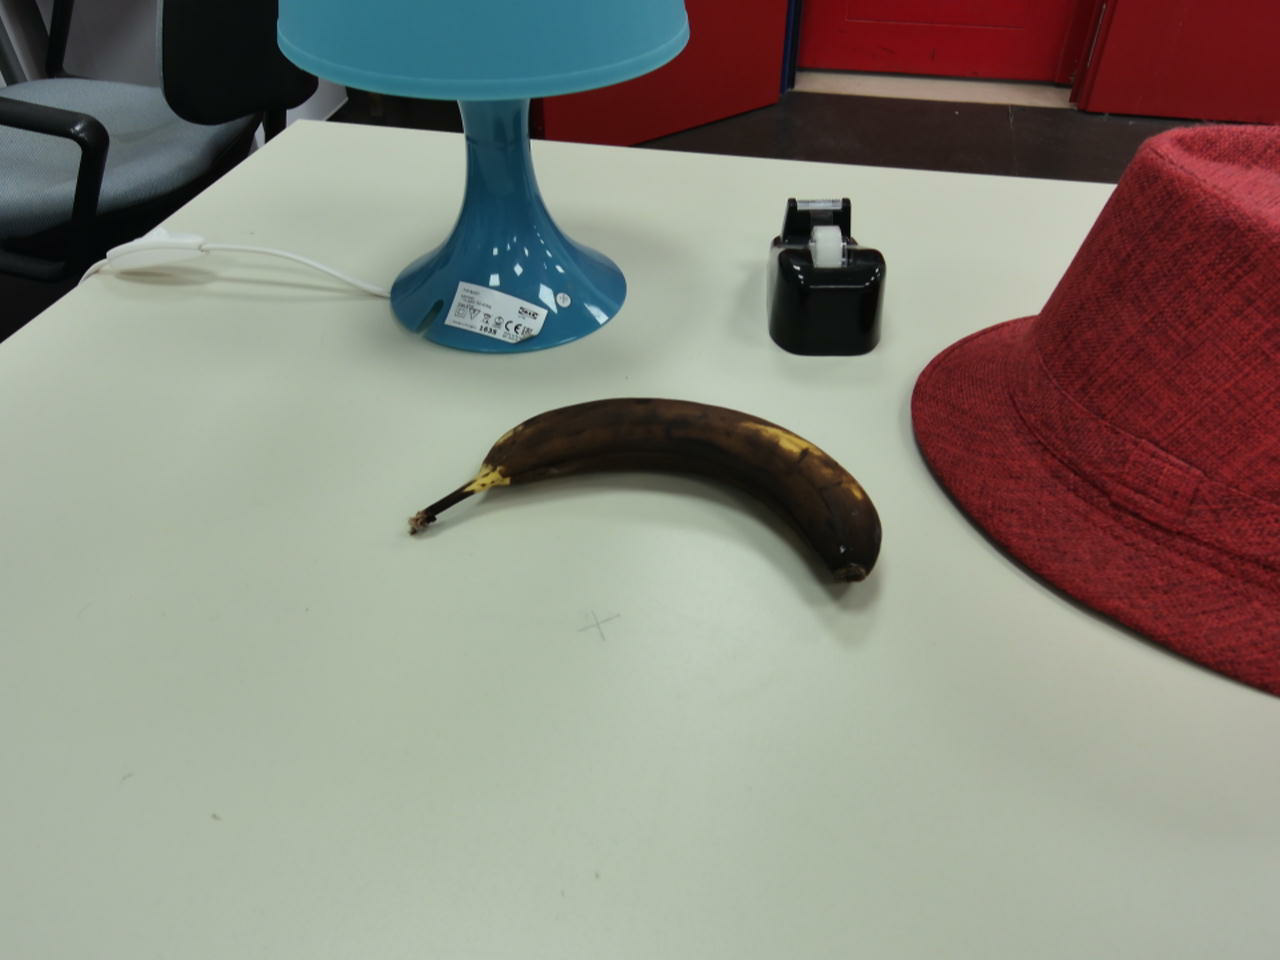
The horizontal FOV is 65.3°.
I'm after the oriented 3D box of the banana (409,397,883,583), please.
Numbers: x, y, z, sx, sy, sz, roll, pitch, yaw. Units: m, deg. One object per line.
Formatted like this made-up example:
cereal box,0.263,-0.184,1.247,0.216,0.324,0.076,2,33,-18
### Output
banana,0.007,-0.004,0.417,0.188,0.034,0.091,9,39,12
